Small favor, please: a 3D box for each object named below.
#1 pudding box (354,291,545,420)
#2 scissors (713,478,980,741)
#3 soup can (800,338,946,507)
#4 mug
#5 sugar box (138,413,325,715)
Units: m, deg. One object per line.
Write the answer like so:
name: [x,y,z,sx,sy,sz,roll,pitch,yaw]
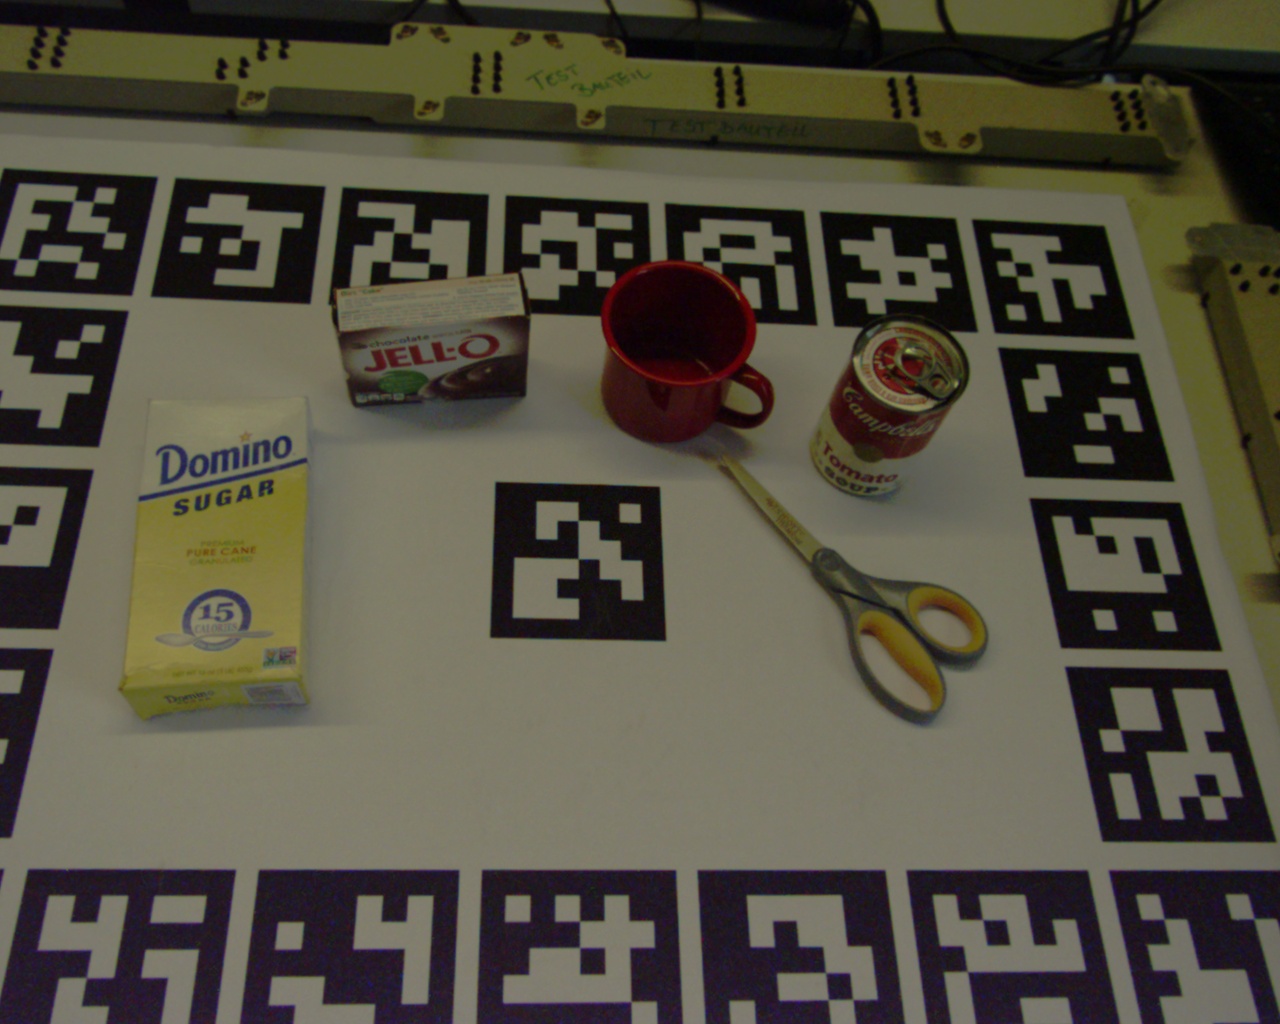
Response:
pudding box: [-0.119,-0.098,0.715,0.113,0.090,0.039,-7,73,-10]
scissors: [0.121,0.046,0.714,0.087,0.016,0.204,-42,76,-11]
soup can: [0.145,-0.054,0.726,0.068,0.102,0.068,2,64,-5]
mug: [0.028,-0.092,0.735,0.093,0.081,0.118,-34,72,-17]
sugar box: [-0.238,0.028,0.677,0.092,0.045,0.177,-2,67,-5]
